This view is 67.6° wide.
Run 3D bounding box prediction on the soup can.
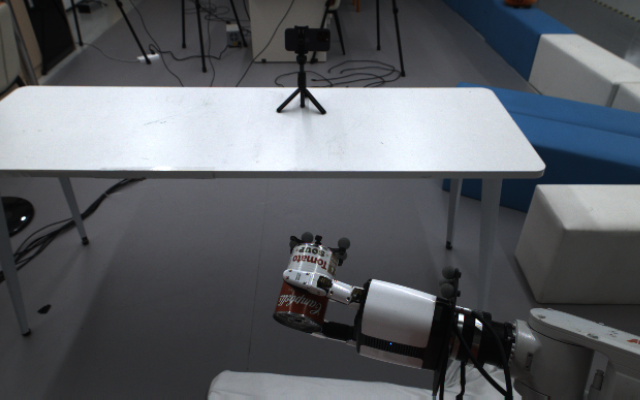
[{"bbox_3d":[-0.015,0.117,0.651,0.067,0.067,0.101,9,61,10],"label":"soup can"}]
